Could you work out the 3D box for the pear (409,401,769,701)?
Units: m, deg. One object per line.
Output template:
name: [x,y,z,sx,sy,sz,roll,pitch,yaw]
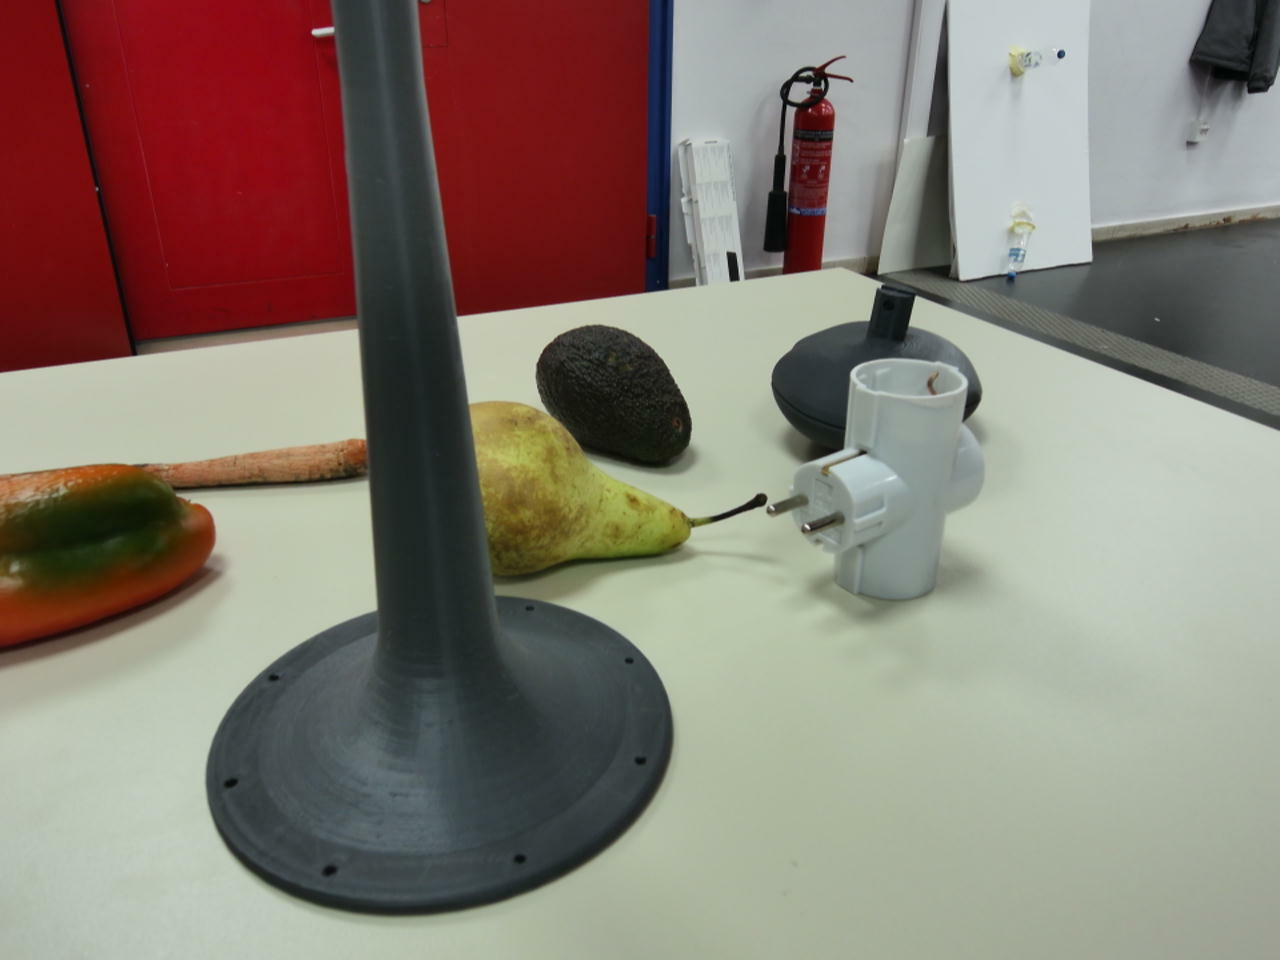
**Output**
pear: [-0.025,-0.001,0.429,0.144,0.075,0.071,-9,25,-17]
